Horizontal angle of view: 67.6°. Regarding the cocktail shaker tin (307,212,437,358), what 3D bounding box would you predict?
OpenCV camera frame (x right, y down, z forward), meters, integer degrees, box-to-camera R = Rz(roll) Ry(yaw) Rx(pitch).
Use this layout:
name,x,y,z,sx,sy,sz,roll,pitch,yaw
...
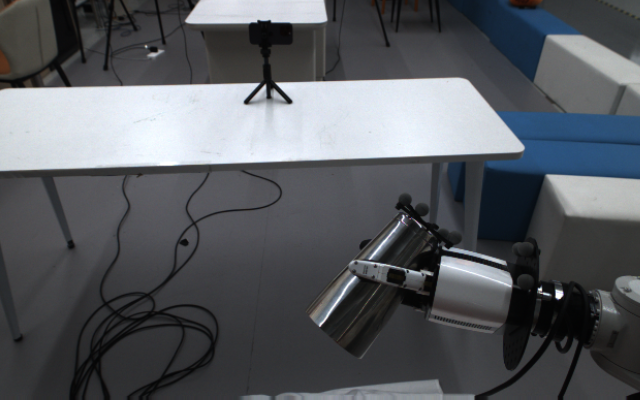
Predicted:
name,x,y,z,sx,sy,sz,roll,pitch,yaw
cocktail shaker tin,0.072,0.097,0.607,0.170,0.093,0.093,-48,49,-4
